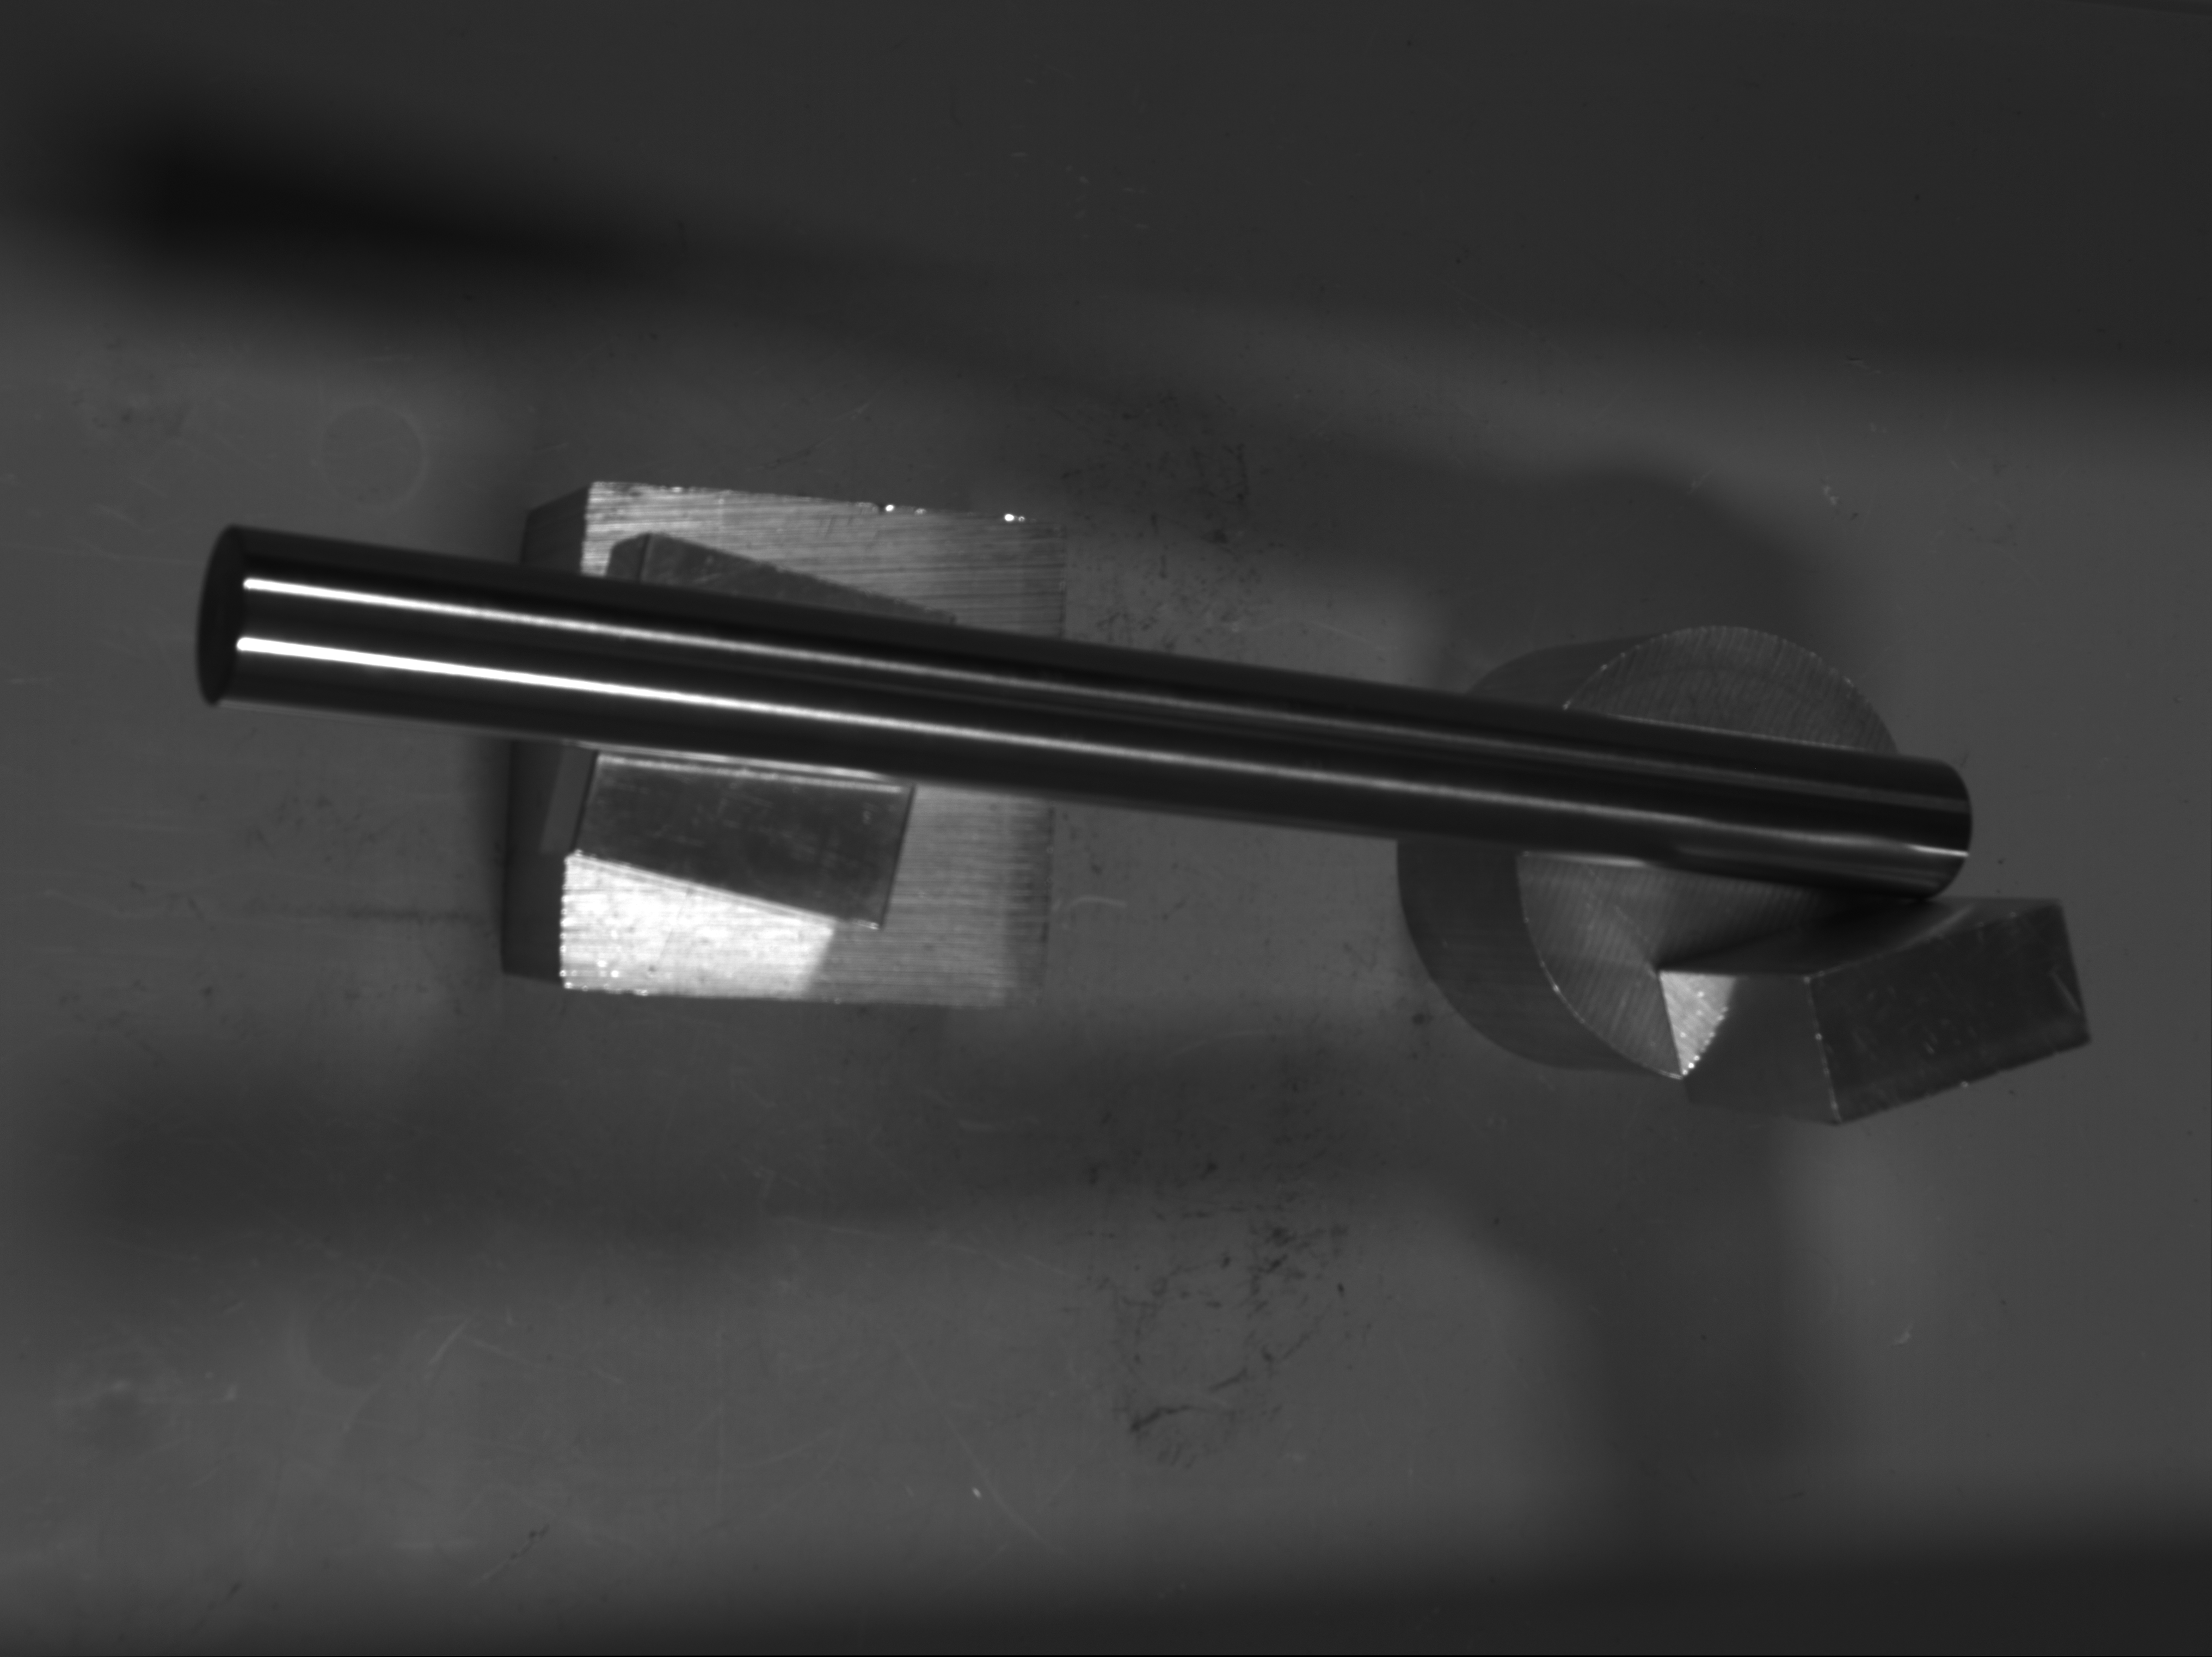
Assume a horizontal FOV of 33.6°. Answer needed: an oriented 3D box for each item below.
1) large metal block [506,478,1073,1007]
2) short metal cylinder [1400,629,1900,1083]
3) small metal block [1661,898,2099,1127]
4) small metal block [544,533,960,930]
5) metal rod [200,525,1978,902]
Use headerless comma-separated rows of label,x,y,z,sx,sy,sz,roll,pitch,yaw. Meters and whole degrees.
large metal block,-0.053,-0.013,0.608,0.080,0.050,0.080,3,89,-20
short metal cylinder,0.100,0.005,0.665,0.080,0.050,0.080,0,90,-20
small metal block,0.131,0.030,0.622,0.050,0.050,0.025,-15,95,-19
small metal block,-0.055,-0.014,0.569,0.050,0.025,0.050,14,85,-19
metal rod,0.012,-0.014,0.572,0.301,0.025,0.025,6,88,-27
